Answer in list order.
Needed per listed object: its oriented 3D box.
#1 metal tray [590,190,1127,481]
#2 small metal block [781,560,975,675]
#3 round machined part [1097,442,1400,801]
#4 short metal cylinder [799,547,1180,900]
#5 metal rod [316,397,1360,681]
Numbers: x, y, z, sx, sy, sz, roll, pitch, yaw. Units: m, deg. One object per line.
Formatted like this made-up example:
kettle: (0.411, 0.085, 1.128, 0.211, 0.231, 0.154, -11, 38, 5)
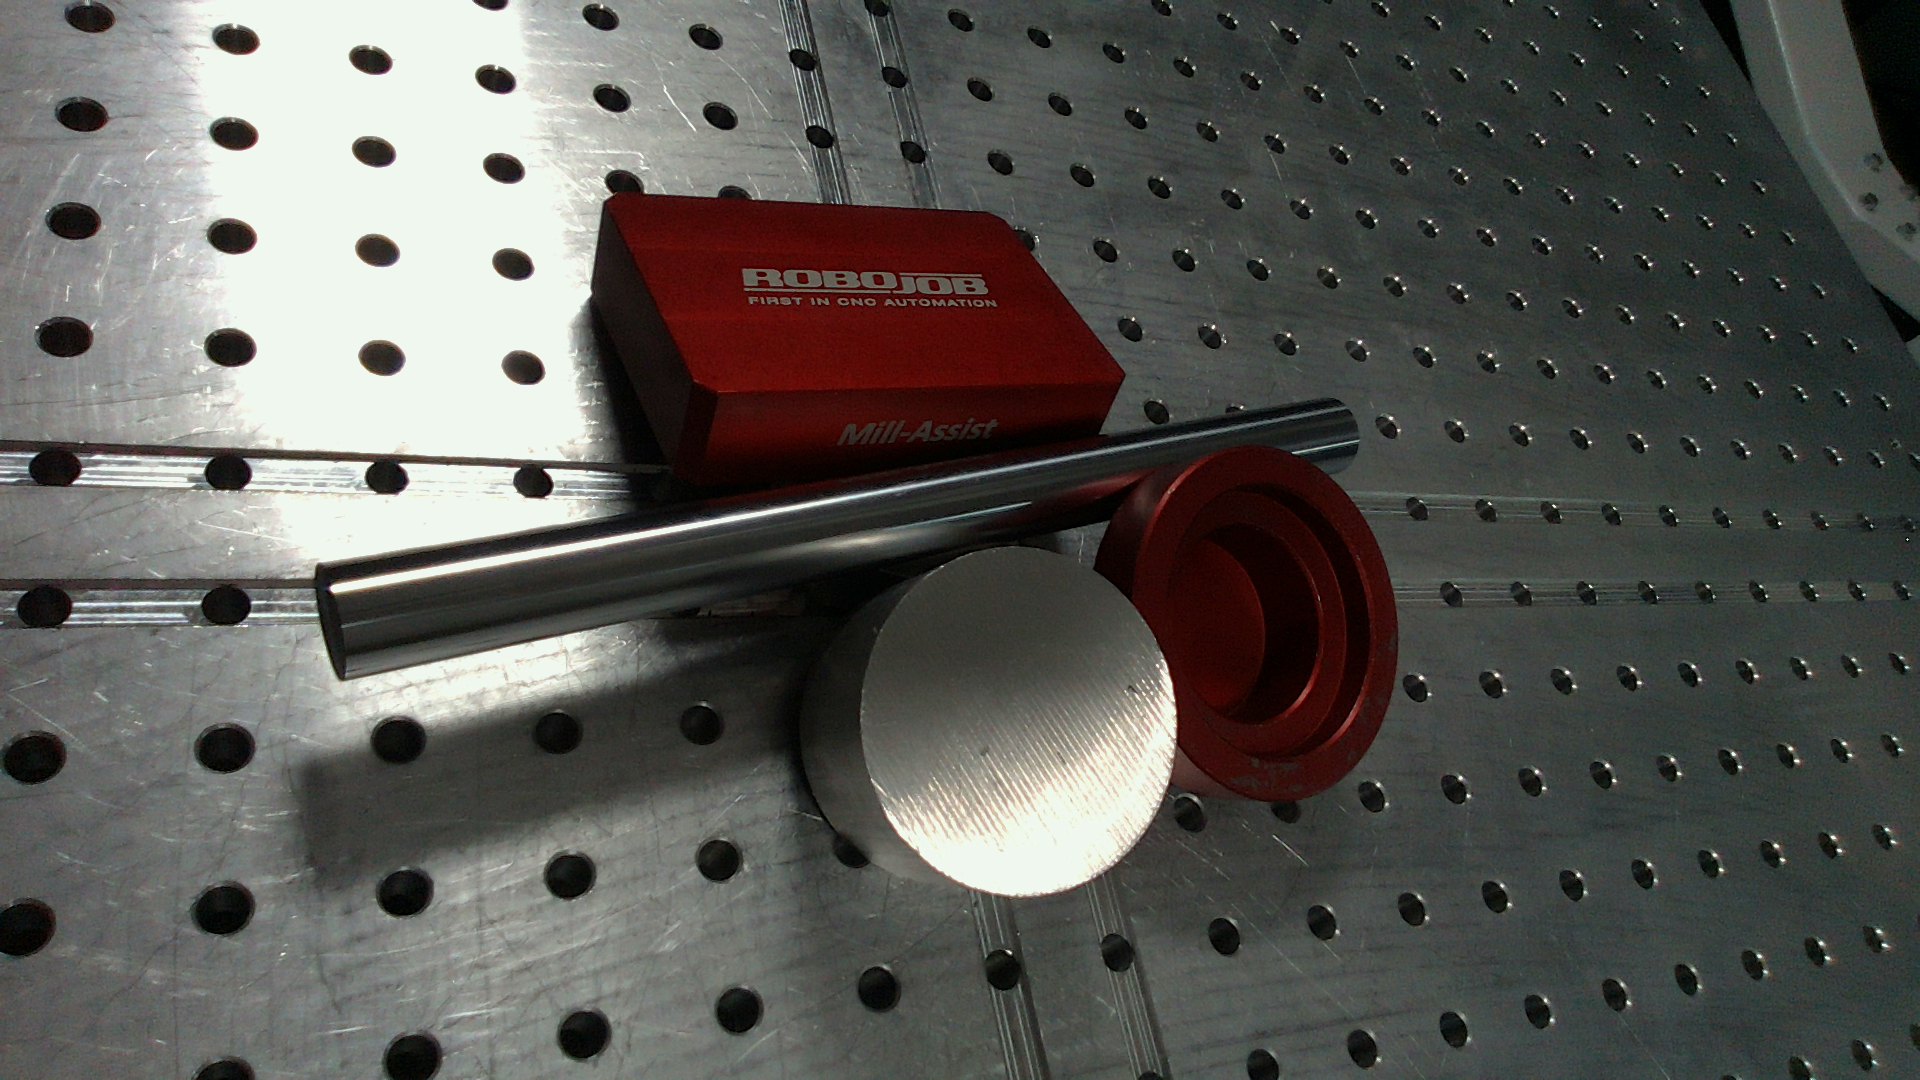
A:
metal tray: (-0.029, -0.060, 0.393, 0.130, 0.030, 0.090, -5, 45, -31)
small metal block: (-0.019, 0.015, 0.384, 0.050, 0.025, 0.050, 17, 55, -19)
round machined part: (0.076, 0.024, 0.393, 0.098, 0.042, 0.098, 5, 81, -31)
short metal cylinder: (0.006, 0.045, 0.337, 0.080, 0.050, 0.080, 4, 78, -22)
metal rod: (-0.005, -0.009, 0.362, 0.301, 0.025, 0.025, -11, 67, -33)
